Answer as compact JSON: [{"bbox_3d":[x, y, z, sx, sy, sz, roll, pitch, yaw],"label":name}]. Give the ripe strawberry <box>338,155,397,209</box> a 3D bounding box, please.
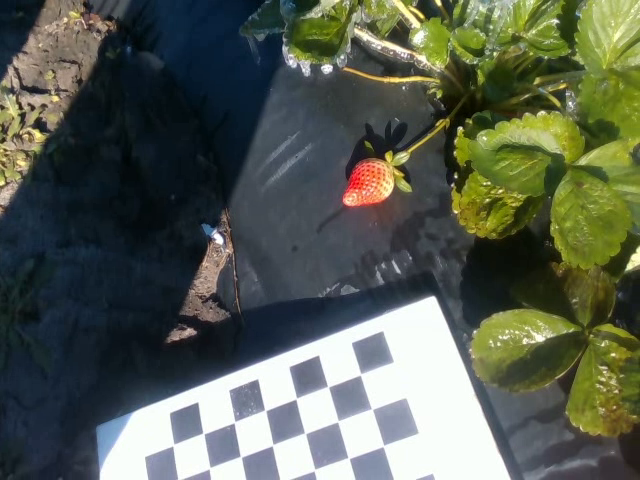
[{"bbox_3d":[0.036,-0.040,0.466,0.053,0.039,0.041,-33,-32,-17],"label":"ripe strawberry"}]
